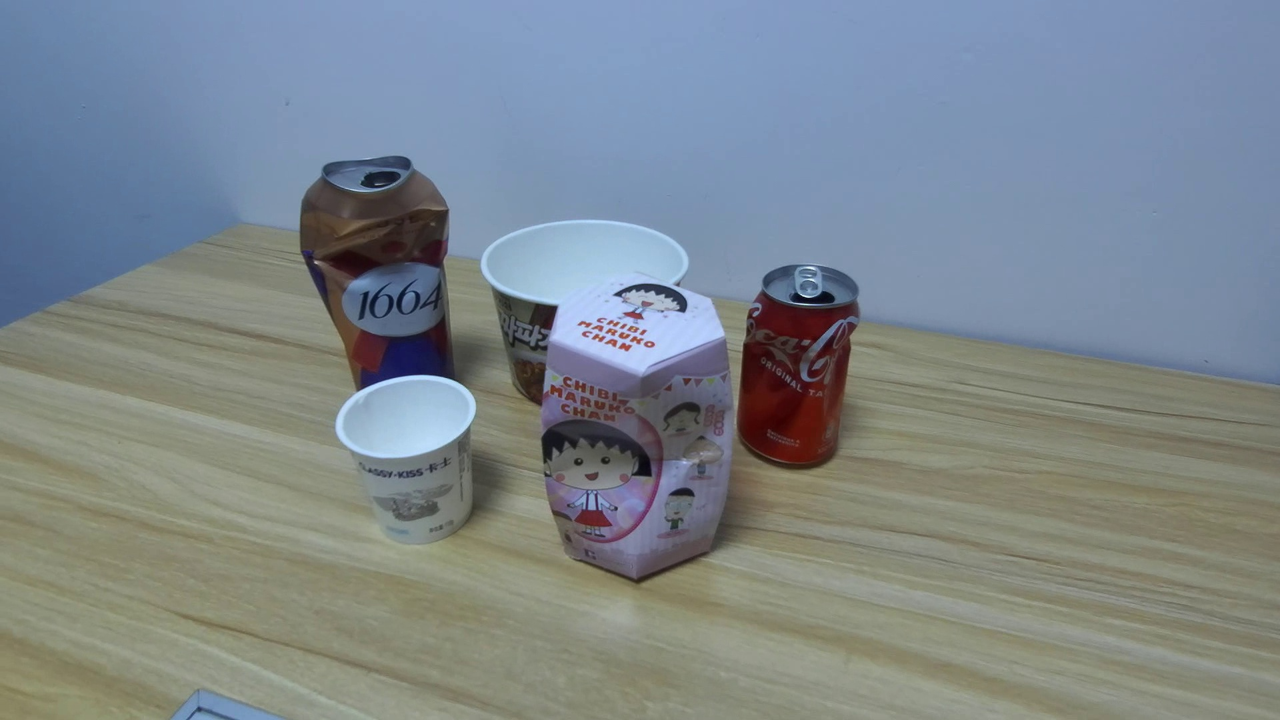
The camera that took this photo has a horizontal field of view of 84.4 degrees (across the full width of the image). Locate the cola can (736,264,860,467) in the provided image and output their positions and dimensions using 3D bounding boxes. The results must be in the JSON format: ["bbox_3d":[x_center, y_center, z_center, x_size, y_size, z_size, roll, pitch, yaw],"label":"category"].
[{"bbox_3d":[0.096,0.003,0.432,0.066,0.117,0.066,27,40,37],"label":"cola can"}]

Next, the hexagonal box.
[{"bbox_3d":[-0.005,0.034,0.361,0.089,0.135,0.093,-3,33,-7],"label":"hexagonal box"}]

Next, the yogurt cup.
[{"bbox_3d":[-0.121,0.056,0.383,0.072,0.068,0.072,1,32,0],"label":"yogurt cup"}]

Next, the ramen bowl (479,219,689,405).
[{"bbox_3d":[-0.037,-0.031,0.505,0.140,0.095,0.140,0,33,0],"label":"ramen bowl"}]

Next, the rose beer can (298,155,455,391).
[{"bbox_3d":[-0.163,-0.047,0.460,0.068,0.162,0.074,18,38,21],"label":"rose beer can"}]
